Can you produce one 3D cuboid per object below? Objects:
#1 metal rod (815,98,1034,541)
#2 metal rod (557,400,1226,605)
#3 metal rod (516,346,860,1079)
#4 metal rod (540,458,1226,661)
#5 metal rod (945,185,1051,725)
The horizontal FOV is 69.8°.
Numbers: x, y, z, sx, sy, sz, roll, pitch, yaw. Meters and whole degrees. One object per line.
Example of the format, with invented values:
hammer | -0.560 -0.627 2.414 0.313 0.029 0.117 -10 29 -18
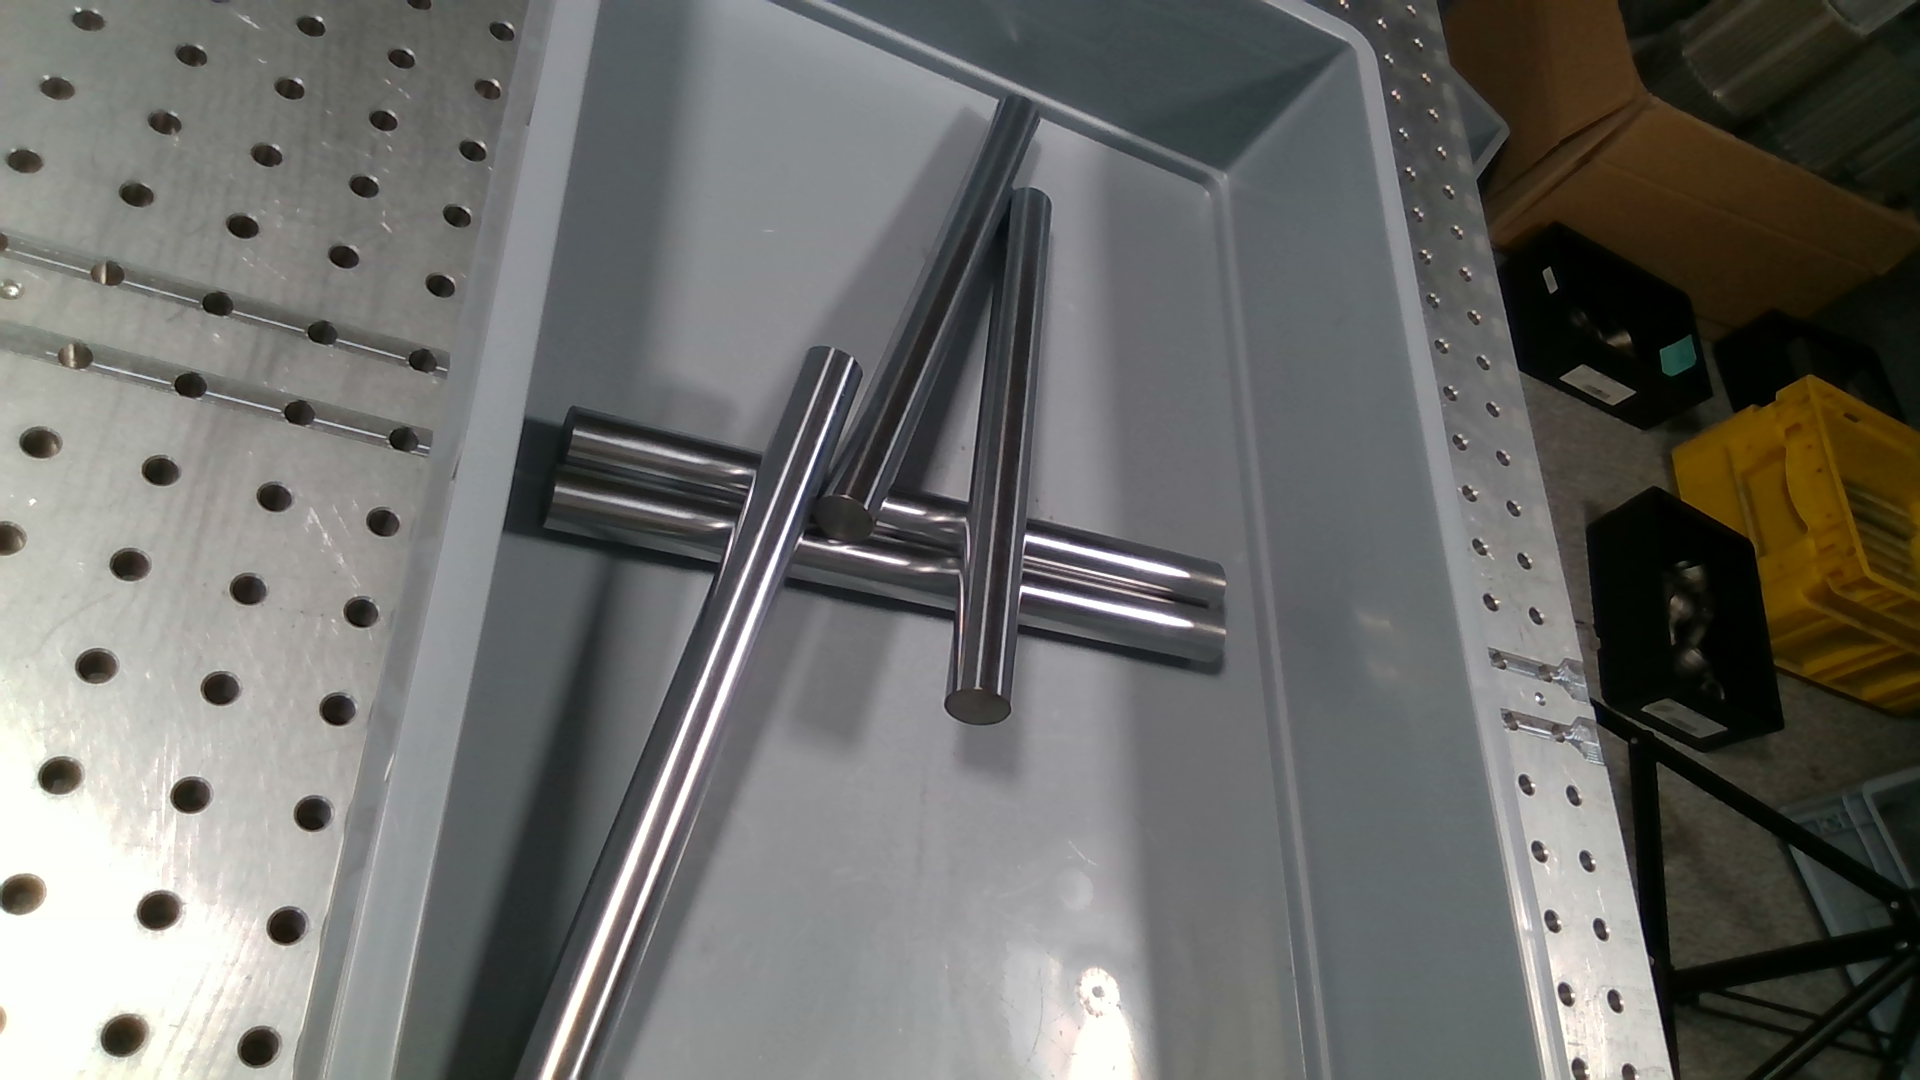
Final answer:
metal rod | -0.009 -0.115 0.625 0.025 0.025 0.299 31 47 -14
metal rod | -0.016 -0.009 0.578 0.300 0.025 0.025 13 59 -26
metal rod | -0.089 0.056 0.477 0.025 0.025 0.299 26 60 -17
metal rod | -0.018 0.013 0.565 0.300 0.025 0.025 13 59 -25
metal rod | 0.020 -0.054 0.601 0.025 0.025 0.299 23 48 -19
